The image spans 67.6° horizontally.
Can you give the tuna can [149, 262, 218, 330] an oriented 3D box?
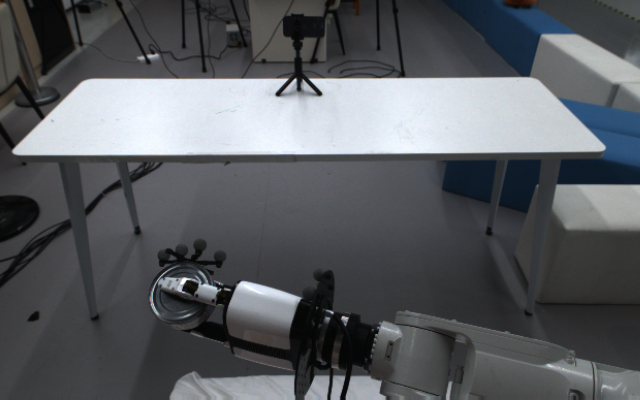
[{"bbox_3d":[-0.175,0.129,0.643,0.085,0.034,0.085,-2,57,2],"label":"tuna can"}]
